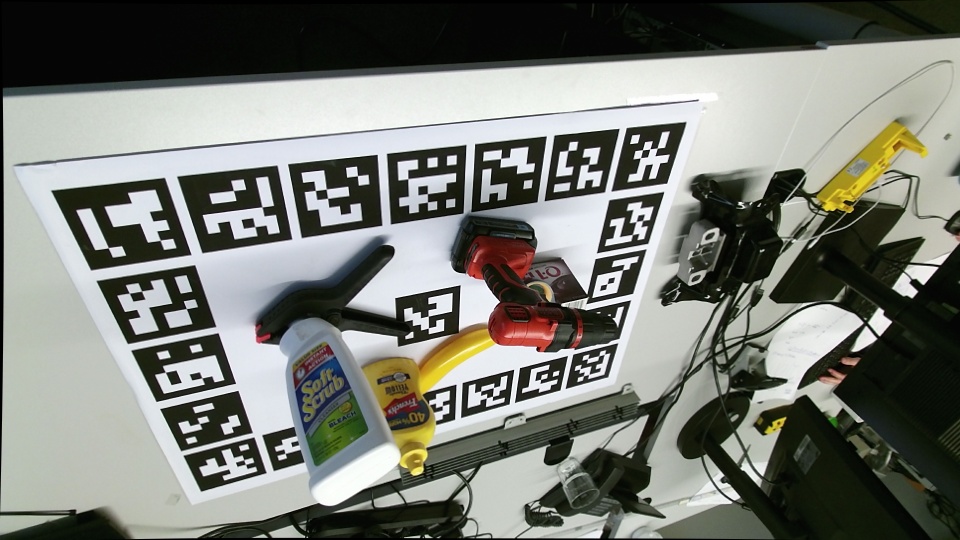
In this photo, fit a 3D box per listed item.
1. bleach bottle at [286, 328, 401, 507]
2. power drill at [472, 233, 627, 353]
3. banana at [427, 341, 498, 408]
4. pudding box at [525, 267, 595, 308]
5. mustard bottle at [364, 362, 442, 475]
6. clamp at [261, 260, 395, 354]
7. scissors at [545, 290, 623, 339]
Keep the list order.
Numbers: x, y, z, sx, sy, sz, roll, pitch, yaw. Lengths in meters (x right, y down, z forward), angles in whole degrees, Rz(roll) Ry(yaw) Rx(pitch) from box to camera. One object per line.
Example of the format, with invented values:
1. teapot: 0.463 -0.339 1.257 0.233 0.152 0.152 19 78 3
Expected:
1. bleach bottle: -0.189 0.156 0.652 0.103 0.250 0.068 -31 137 -12
2. power drill: 0.081 0.028 0.706 0.185 0.186 0.057 -2 132 -28
3. banana: -0.033 0.176 0.895 0.197 0.039 0.074 -41 148 8
4. pudding box: 0.105 0.041 0.831 0.114 0.089 0.038 -8 134 -20
5. mustard bottle: -0.110 0.222 0.804 0.096 0.190 0.058 1 124 -26
6. clamp: -0.194 0.078 0.731 0.203 0.036 0.165 -16 128 -13
7. scissors: 0.137 0.081 0.791 0.204 0.016 0.087 14 114 -28
